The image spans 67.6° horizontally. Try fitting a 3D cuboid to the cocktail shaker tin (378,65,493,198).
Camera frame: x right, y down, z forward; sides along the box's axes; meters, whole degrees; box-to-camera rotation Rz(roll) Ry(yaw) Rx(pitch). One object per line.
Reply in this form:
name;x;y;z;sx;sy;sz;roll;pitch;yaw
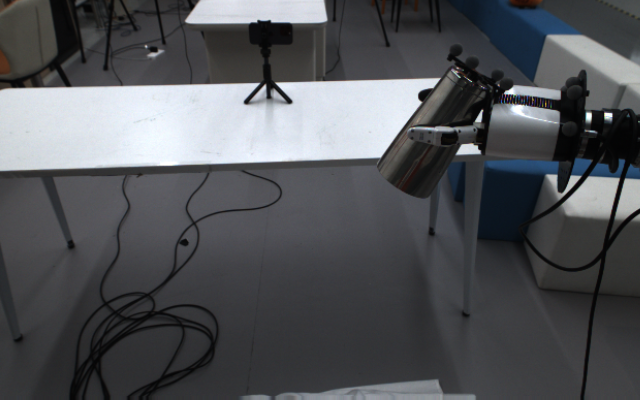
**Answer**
cocktail shaker tin;0.164;-0.102;0.684;0.093;0.170;0.093;25;29;-15
